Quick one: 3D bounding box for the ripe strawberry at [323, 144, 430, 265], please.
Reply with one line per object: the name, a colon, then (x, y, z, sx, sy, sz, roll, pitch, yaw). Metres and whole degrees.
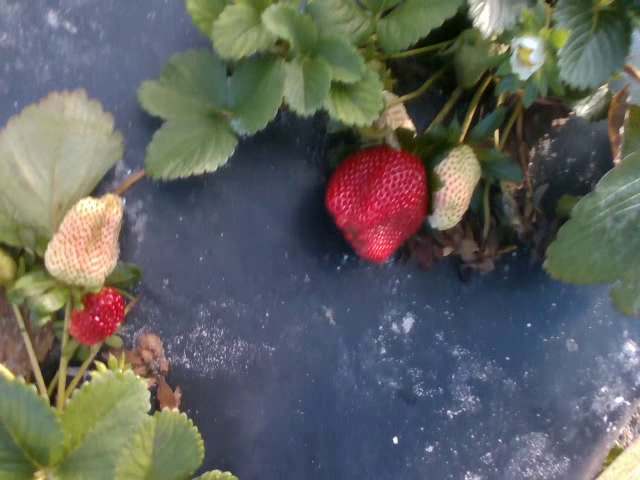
ripe strawberry: (0.029, -0.016, 0.309, 0.057, 0.058, 0.070, 12, 32, 27)
